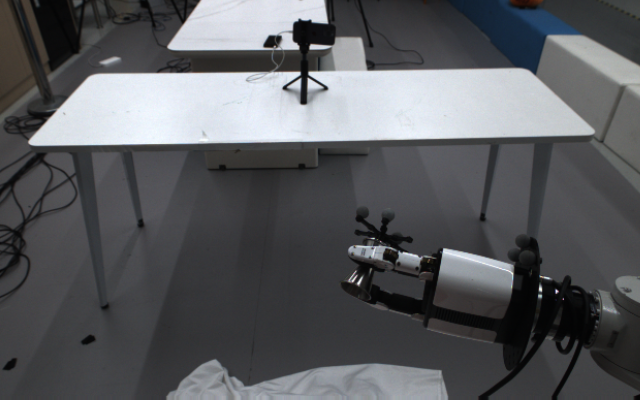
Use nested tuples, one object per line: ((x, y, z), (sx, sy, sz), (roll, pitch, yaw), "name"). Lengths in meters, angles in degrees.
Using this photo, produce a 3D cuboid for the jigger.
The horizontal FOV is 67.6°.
((0.057, 0.082, 0.611), (0.043, 0.043, 0.071), (20, 62, 24), "jigger")
